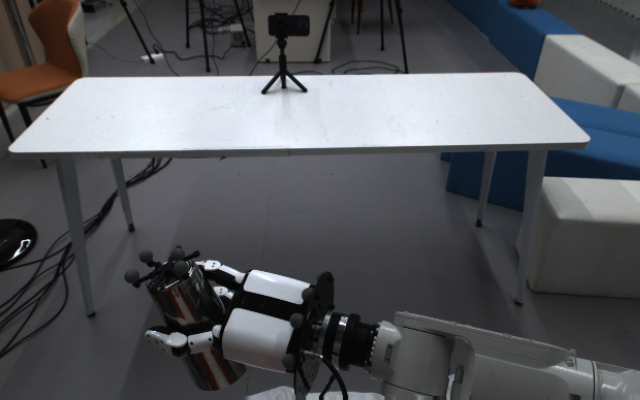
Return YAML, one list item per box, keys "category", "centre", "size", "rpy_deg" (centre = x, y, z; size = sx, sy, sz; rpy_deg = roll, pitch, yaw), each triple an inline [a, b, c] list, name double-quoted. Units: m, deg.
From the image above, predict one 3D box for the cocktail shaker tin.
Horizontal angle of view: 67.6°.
- category: "cocktail shaker tin"
  centre: [-0.164, 0.163, 0.647]
  size: [0.093, 0.170, 0.093]
  rpy_deg: [-15, 28, 8]
